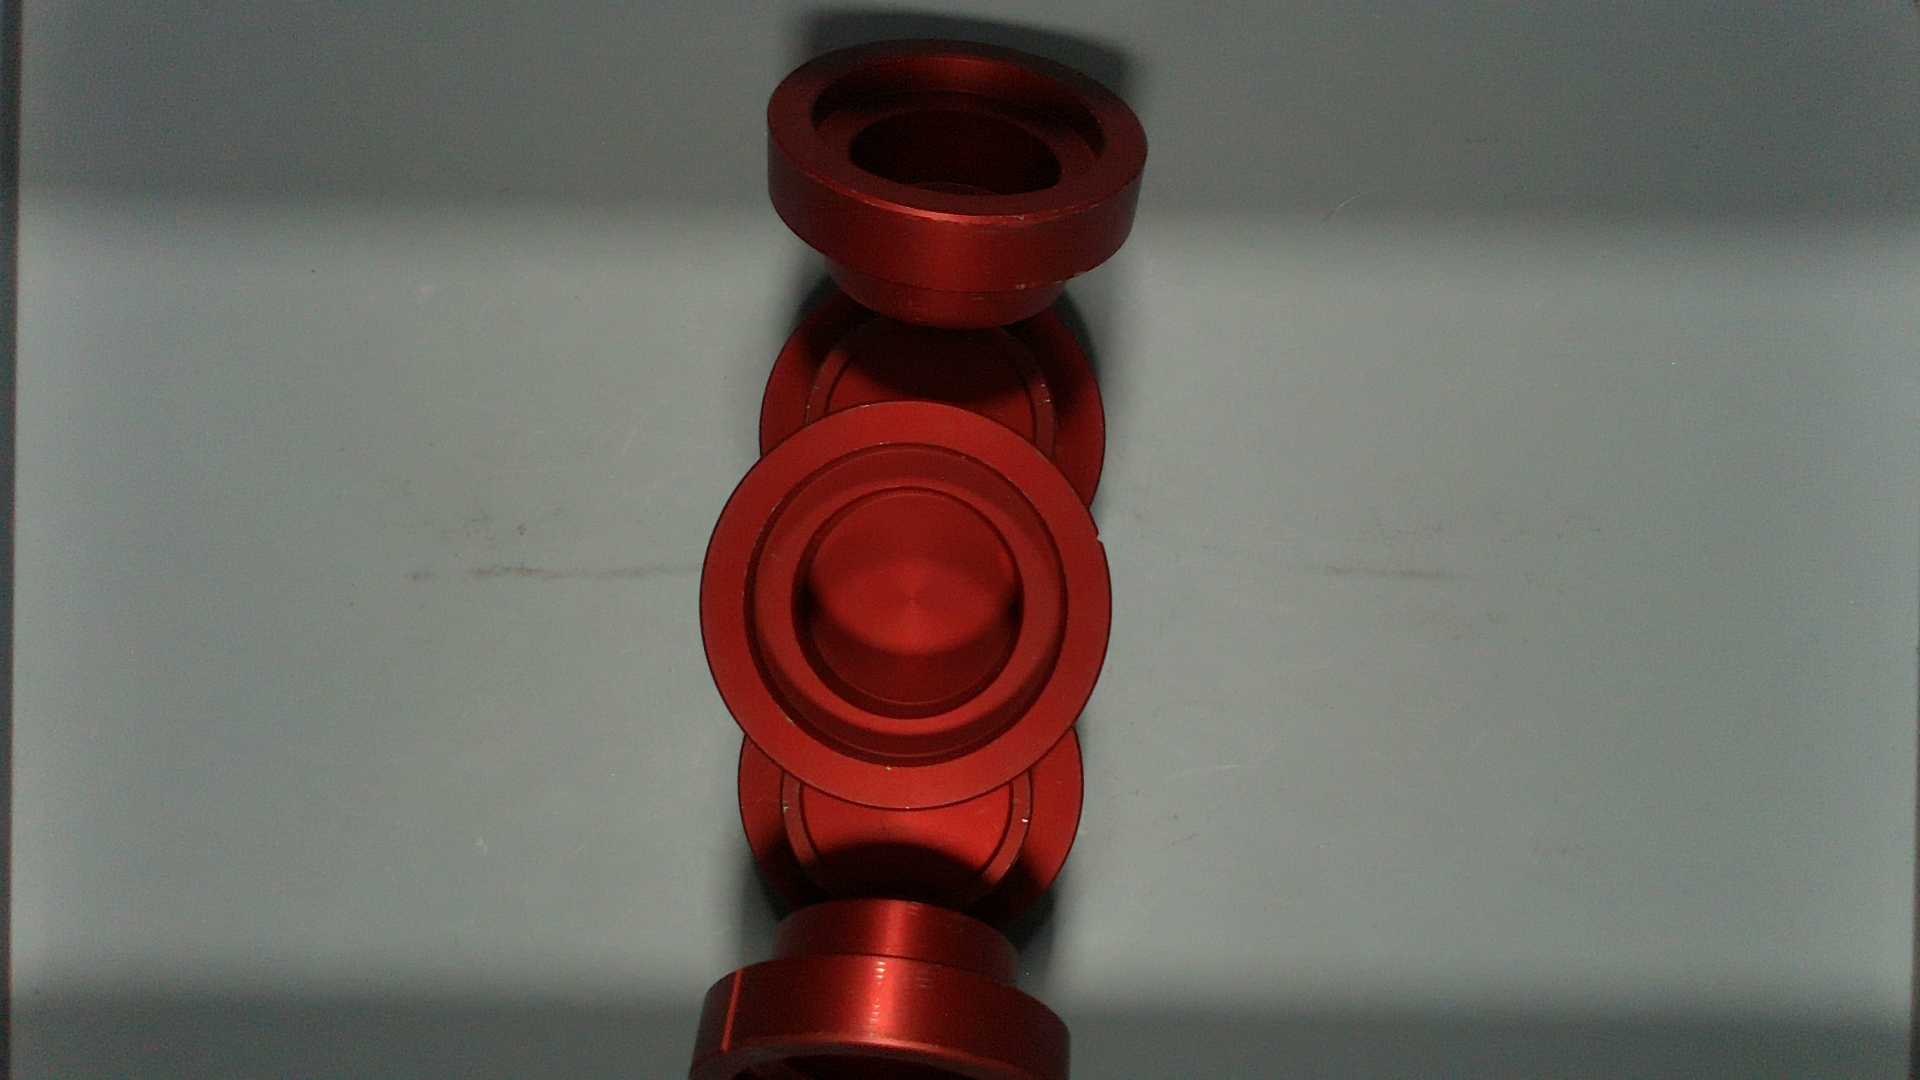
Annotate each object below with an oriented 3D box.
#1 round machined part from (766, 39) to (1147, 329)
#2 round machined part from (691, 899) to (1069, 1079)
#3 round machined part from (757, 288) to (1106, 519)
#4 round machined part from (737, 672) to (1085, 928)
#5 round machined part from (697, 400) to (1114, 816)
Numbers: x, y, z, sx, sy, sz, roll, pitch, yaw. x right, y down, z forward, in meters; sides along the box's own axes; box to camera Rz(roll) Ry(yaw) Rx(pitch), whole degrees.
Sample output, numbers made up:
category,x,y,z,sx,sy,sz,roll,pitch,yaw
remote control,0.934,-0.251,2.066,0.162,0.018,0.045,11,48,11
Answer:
category,x,y,z,sx,sy,sz,roll,pitch,yaw
round machined part,-0.002,-0.093,0.367,0.098,0.098,0.042,7,133,0
round machined part,-0.019,0.129,0.368,0.098,0.098,0.042,6,53,0
round machined part,-0.008,-0.030,0.385,0.098,0.042,0.098,0,90,0
round machined part,-0.014,0.068,0.385,0.098,0.042,0.098,0,90,0
round machined part,-0.013,0.016,0.343,0.098,0.042,0.098,0,90,0
